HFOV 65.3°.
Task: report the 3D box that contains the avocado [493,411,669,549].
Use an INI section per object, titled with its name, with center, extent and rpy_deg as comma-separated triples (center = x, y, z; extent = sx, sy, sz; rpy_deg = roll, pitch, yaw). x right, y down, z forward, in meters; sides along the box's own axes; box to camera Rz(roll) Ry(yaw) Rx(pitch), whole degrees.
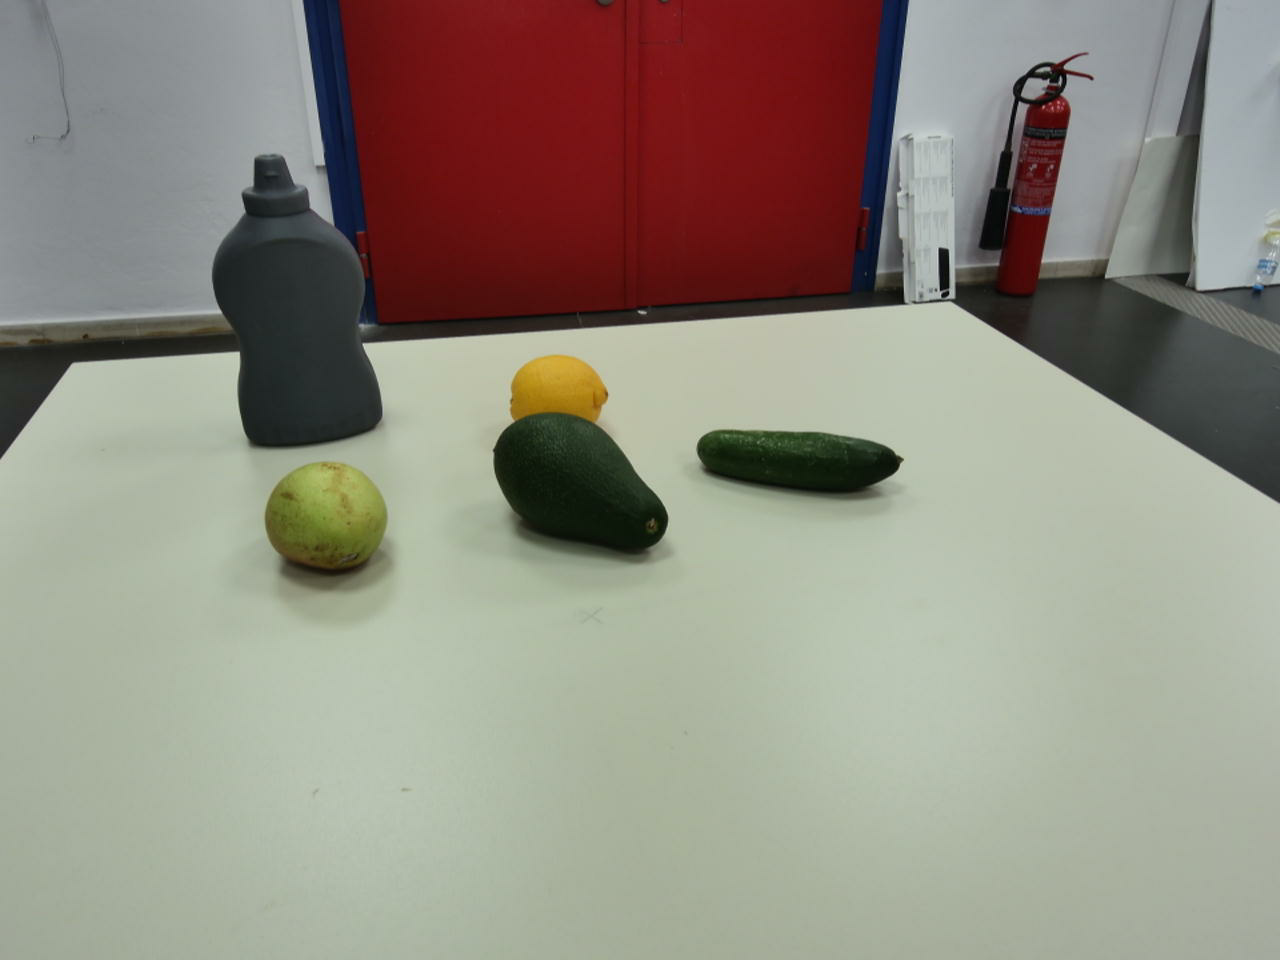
[avocado]
center = -0.038, 0.001, 0.581
extent = 0.072, 0.071, 0.109
rpy_deg = -18, 31, -31
